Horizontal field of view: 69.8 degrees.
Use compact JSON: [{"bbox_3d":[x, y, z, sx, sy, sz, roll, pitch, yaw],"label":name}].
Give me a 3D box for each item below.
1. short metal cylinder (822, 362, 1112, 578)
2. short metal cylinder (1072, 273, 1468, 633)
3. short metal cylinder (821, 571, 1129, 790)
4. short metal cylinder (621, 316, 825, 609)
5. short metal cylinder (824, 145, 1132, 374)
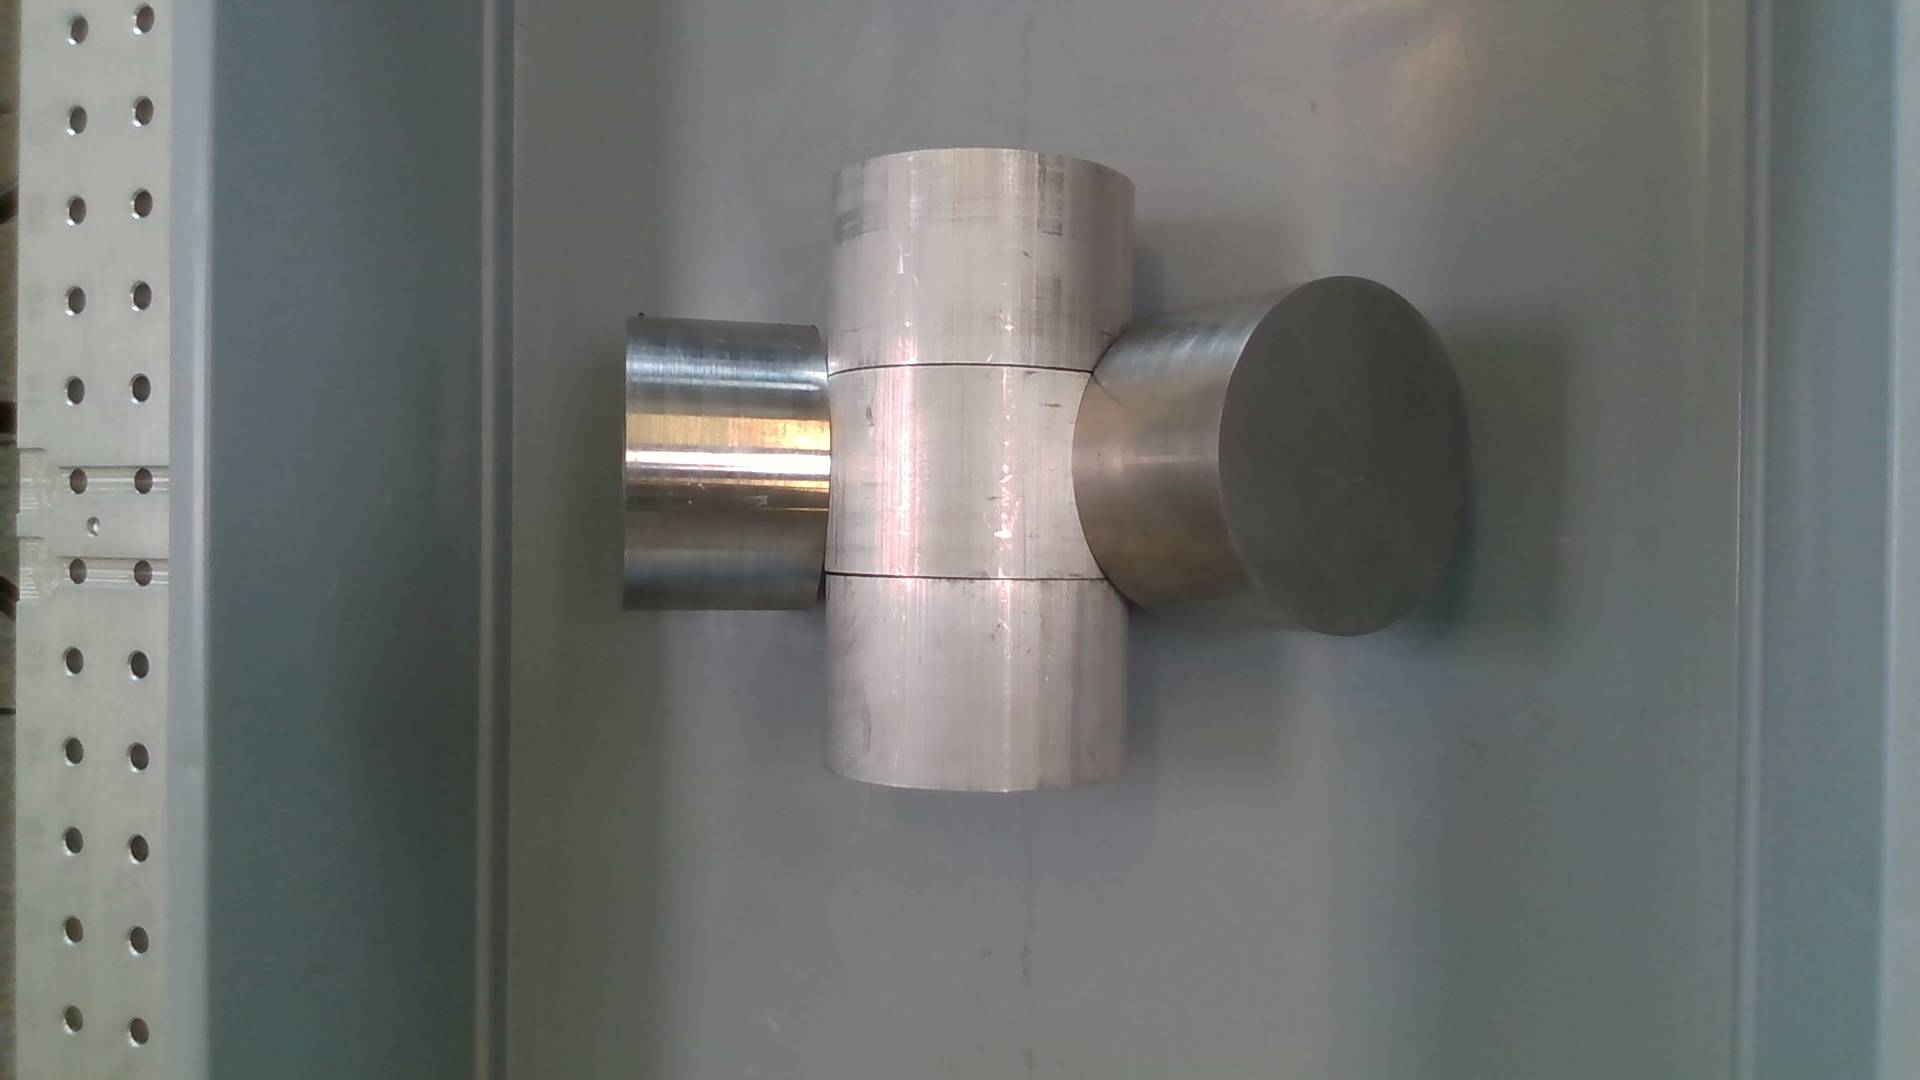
[{"bbox_3d":[0.004,-0.016,0.362,0.080,0.080,0.050,1,90,20],"label":"short metal cylinder"},{"bbox_3d":[0.074,-0.020,0.328,0.050,0.080,0.080,3,92,58],"label":"short metal cylinder"},{"bbox_3d":[0.004,0.034,0.362,0.080,0.080,0.050,1,90,20],"label":"short metal cylinder"},{"bbox_3d":[-0.068,-0.021,0.381,0.050,0.080,0.080,0,90,-14],"label":"short metal cylinder"},{"bbox_3d":[0.005,-0.067,0.361,0.080,0.080,0.050,1,90,20],"label":"short metal cylinder"}]
